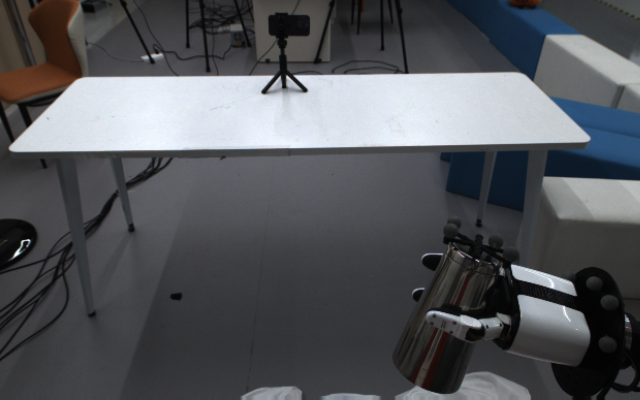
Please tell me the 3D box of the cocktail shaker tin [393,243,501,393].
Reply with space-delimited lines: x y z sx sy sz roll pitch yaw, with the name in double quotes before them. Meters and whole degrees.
"cocktail shaker tin" 0.162 0.138 0.599 0.093 0.170 0.093 14 17 -5
